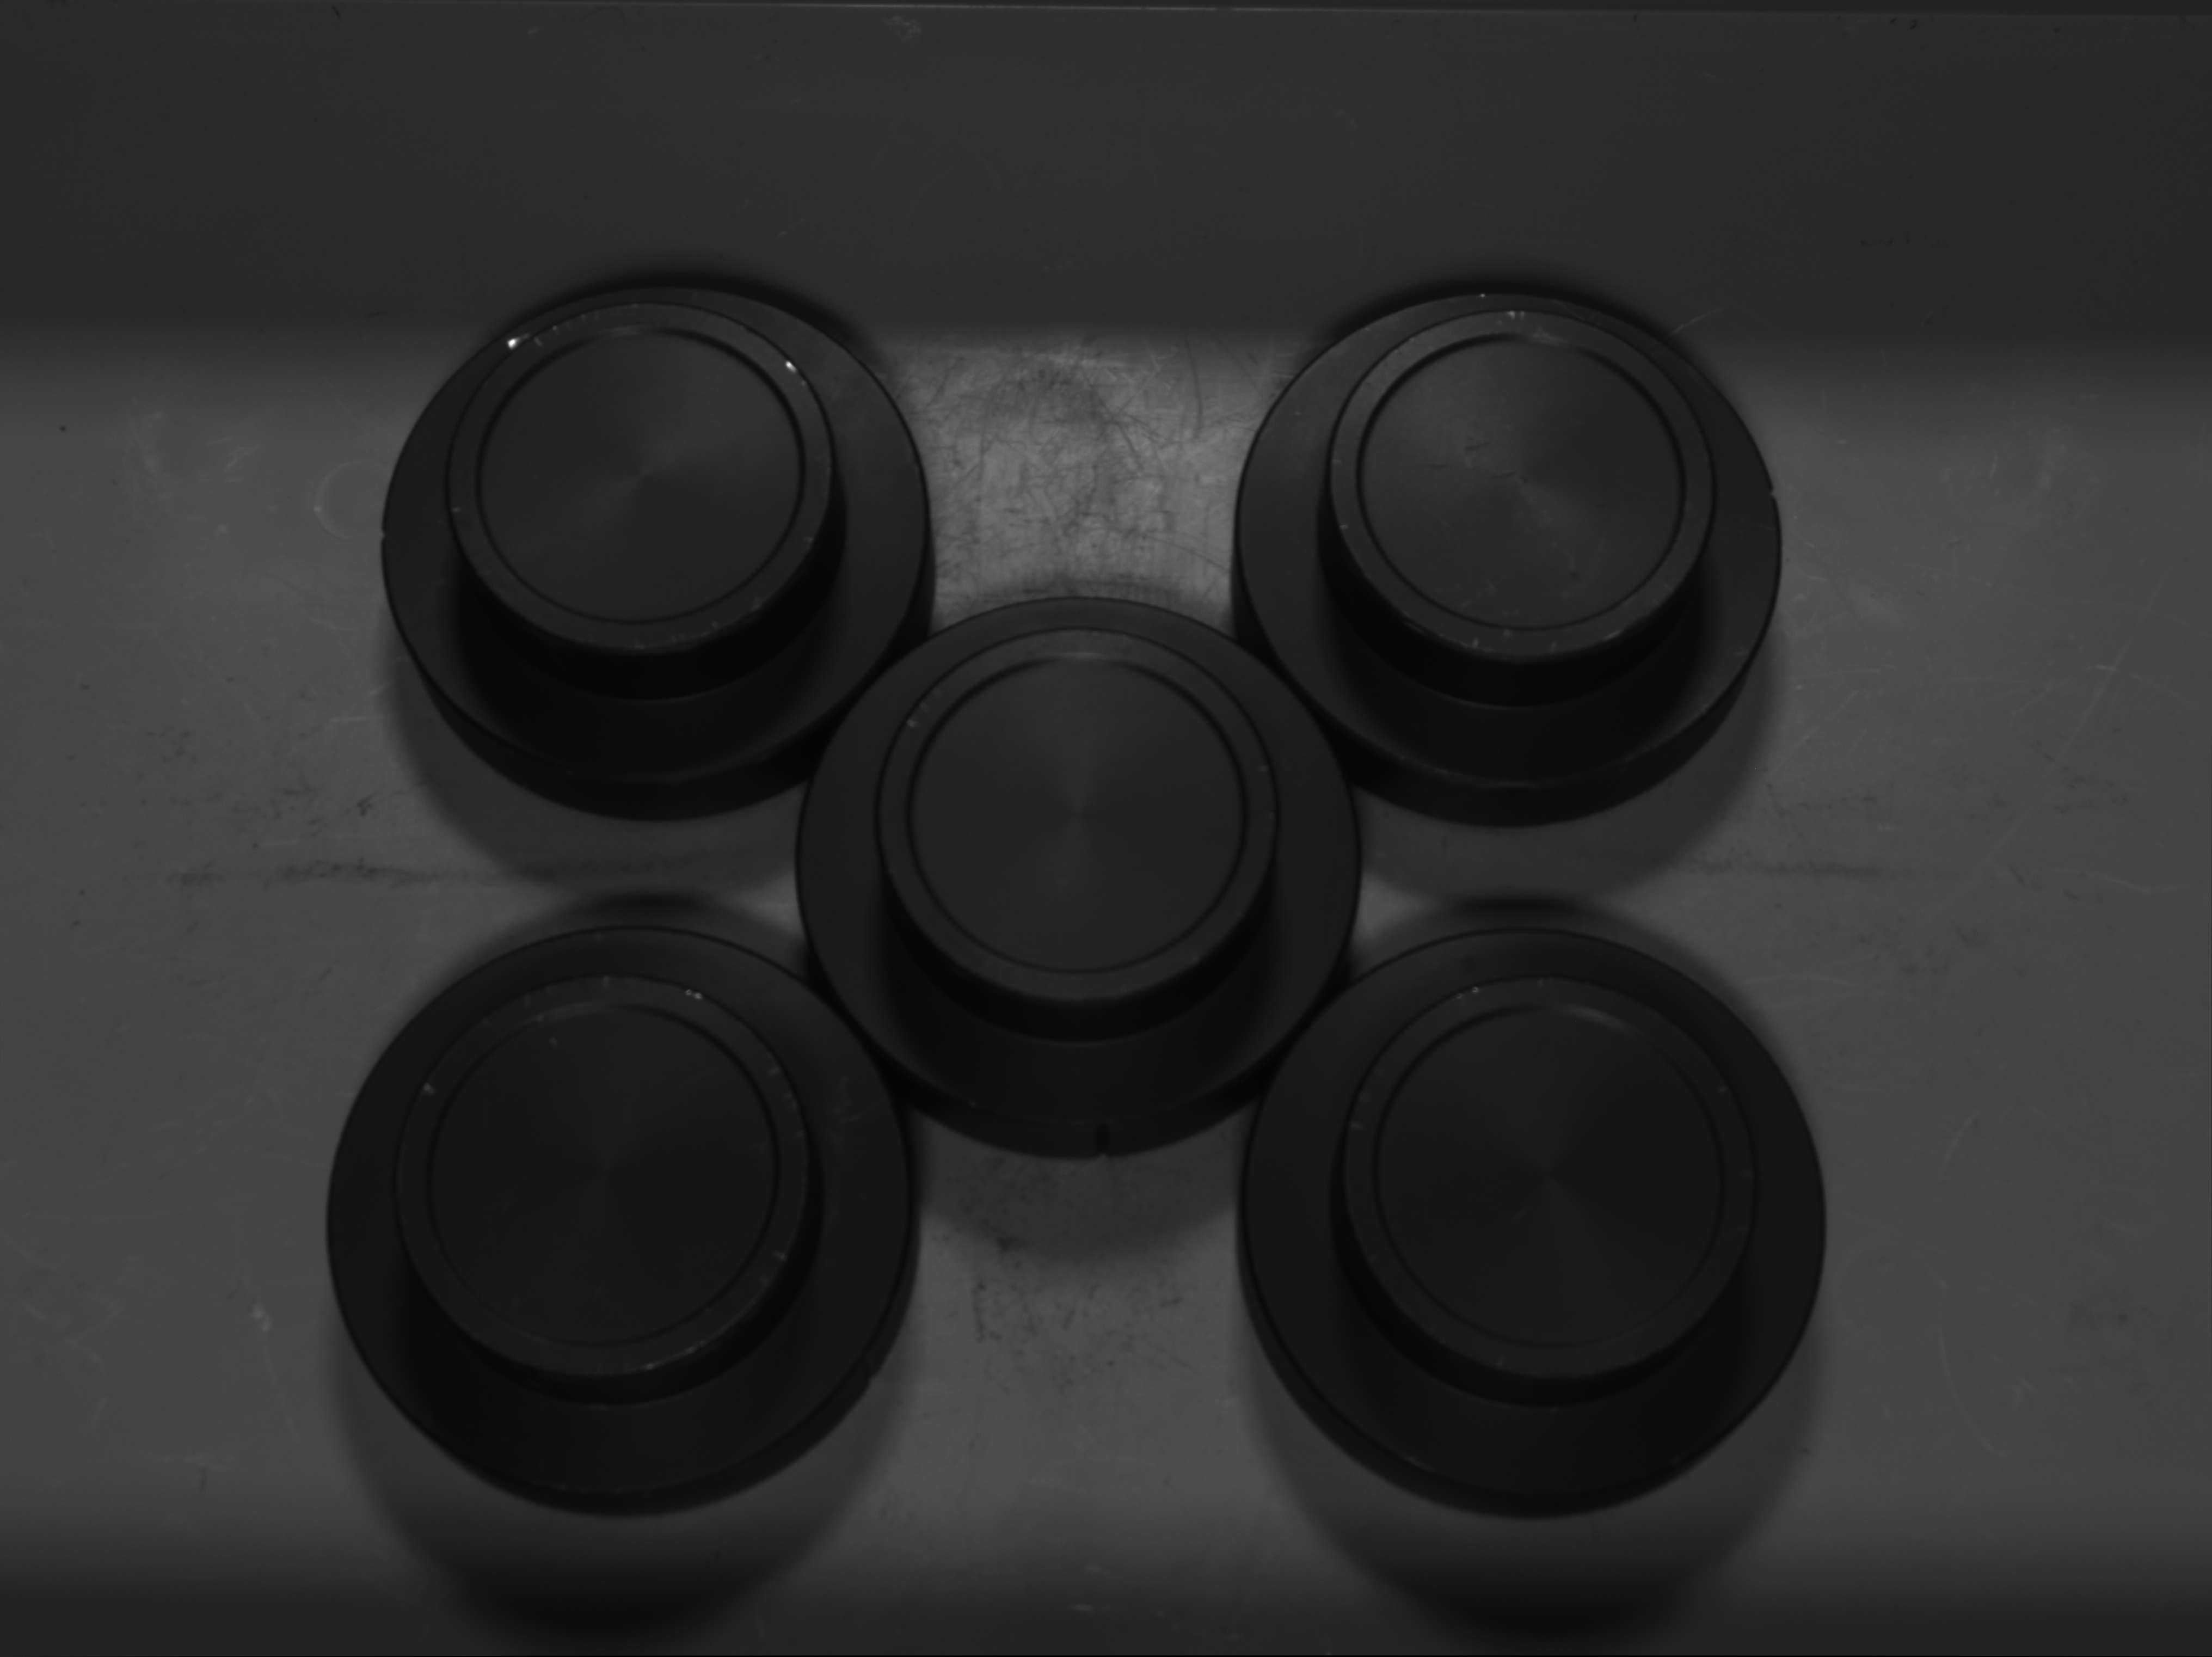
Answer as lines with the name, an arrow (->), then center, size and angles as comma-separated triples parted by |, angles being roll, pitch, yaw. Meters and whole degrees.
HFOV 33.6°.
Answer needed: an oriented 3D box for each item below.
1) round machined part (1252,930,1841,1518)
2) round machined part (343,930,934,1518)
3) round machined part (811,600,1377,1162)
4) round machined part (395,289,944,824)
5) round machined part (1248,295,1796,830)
round machined part -> 0.074, 0.063, 0.612 | 0.098, 0.042, 0.098 | 0, 70, 0
round machined part -> -0.079, 0.063, 0.612 | 0.098, 0.042, 0.098 | 0, 70, 0
round machined part -> -0.002, 0.005, 0.632 | 0.098, 0.042, 0.098 | 0, 70, 0
round machined part -> -0.078, -0.054, 0.654 | 0.098, 0.042, 0.098 | 0, 70, 0
round machined part -> 0.075, -0.052, 0.654 | 0.098, 0.042, 0.098 | 0, 70, 0
